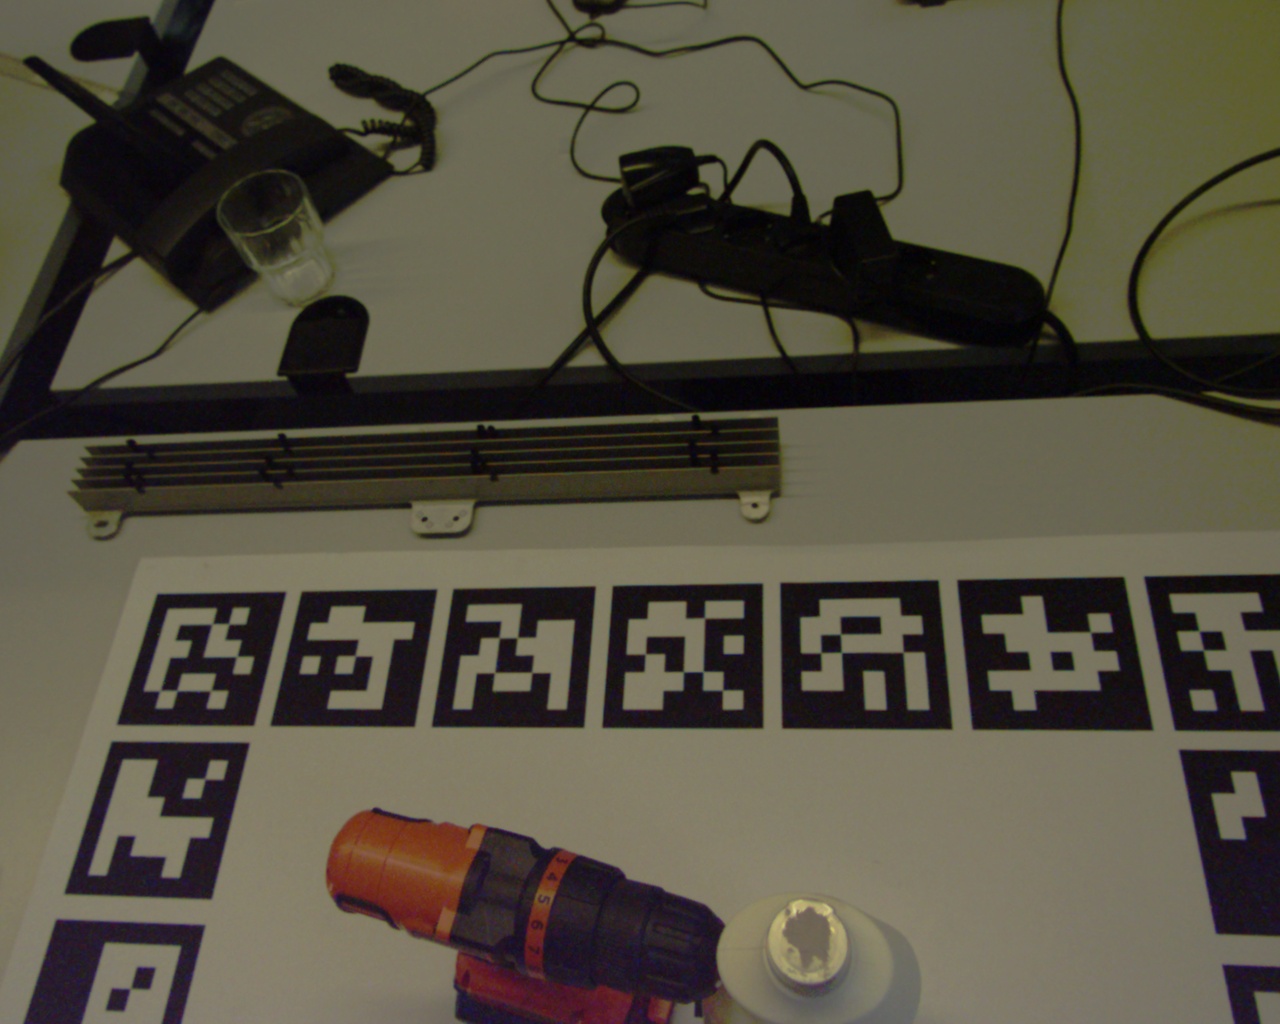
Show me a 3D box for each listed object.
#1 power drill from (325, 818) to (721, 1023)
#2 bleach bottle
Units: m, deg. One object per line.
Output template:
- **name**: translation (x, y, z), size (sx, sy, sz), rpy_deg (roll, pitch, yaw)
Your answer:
- **power drill**: translation (-0.046, 0.212, 0.563), size (0.186, 0.186, 0.057), rpy_deg (10, 61, 14)
- **bleach bottle**: translation (0.062, 0.219, 0.534), size (0.103, 0.249, 0.068), rpy_deg (1, 54, 11)
